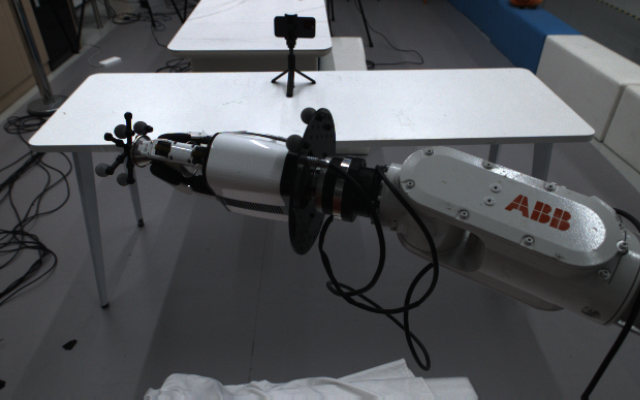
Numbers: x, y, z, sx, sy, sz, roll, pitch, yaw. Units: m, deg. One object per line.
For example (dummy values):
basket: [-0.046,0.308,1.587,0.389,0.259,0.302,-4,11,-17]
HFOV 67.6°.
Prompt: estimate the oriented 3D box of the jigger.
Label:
jigger: [-0.177,-0.056,0.572,0.071,0.043,0.043,10,35,16]
